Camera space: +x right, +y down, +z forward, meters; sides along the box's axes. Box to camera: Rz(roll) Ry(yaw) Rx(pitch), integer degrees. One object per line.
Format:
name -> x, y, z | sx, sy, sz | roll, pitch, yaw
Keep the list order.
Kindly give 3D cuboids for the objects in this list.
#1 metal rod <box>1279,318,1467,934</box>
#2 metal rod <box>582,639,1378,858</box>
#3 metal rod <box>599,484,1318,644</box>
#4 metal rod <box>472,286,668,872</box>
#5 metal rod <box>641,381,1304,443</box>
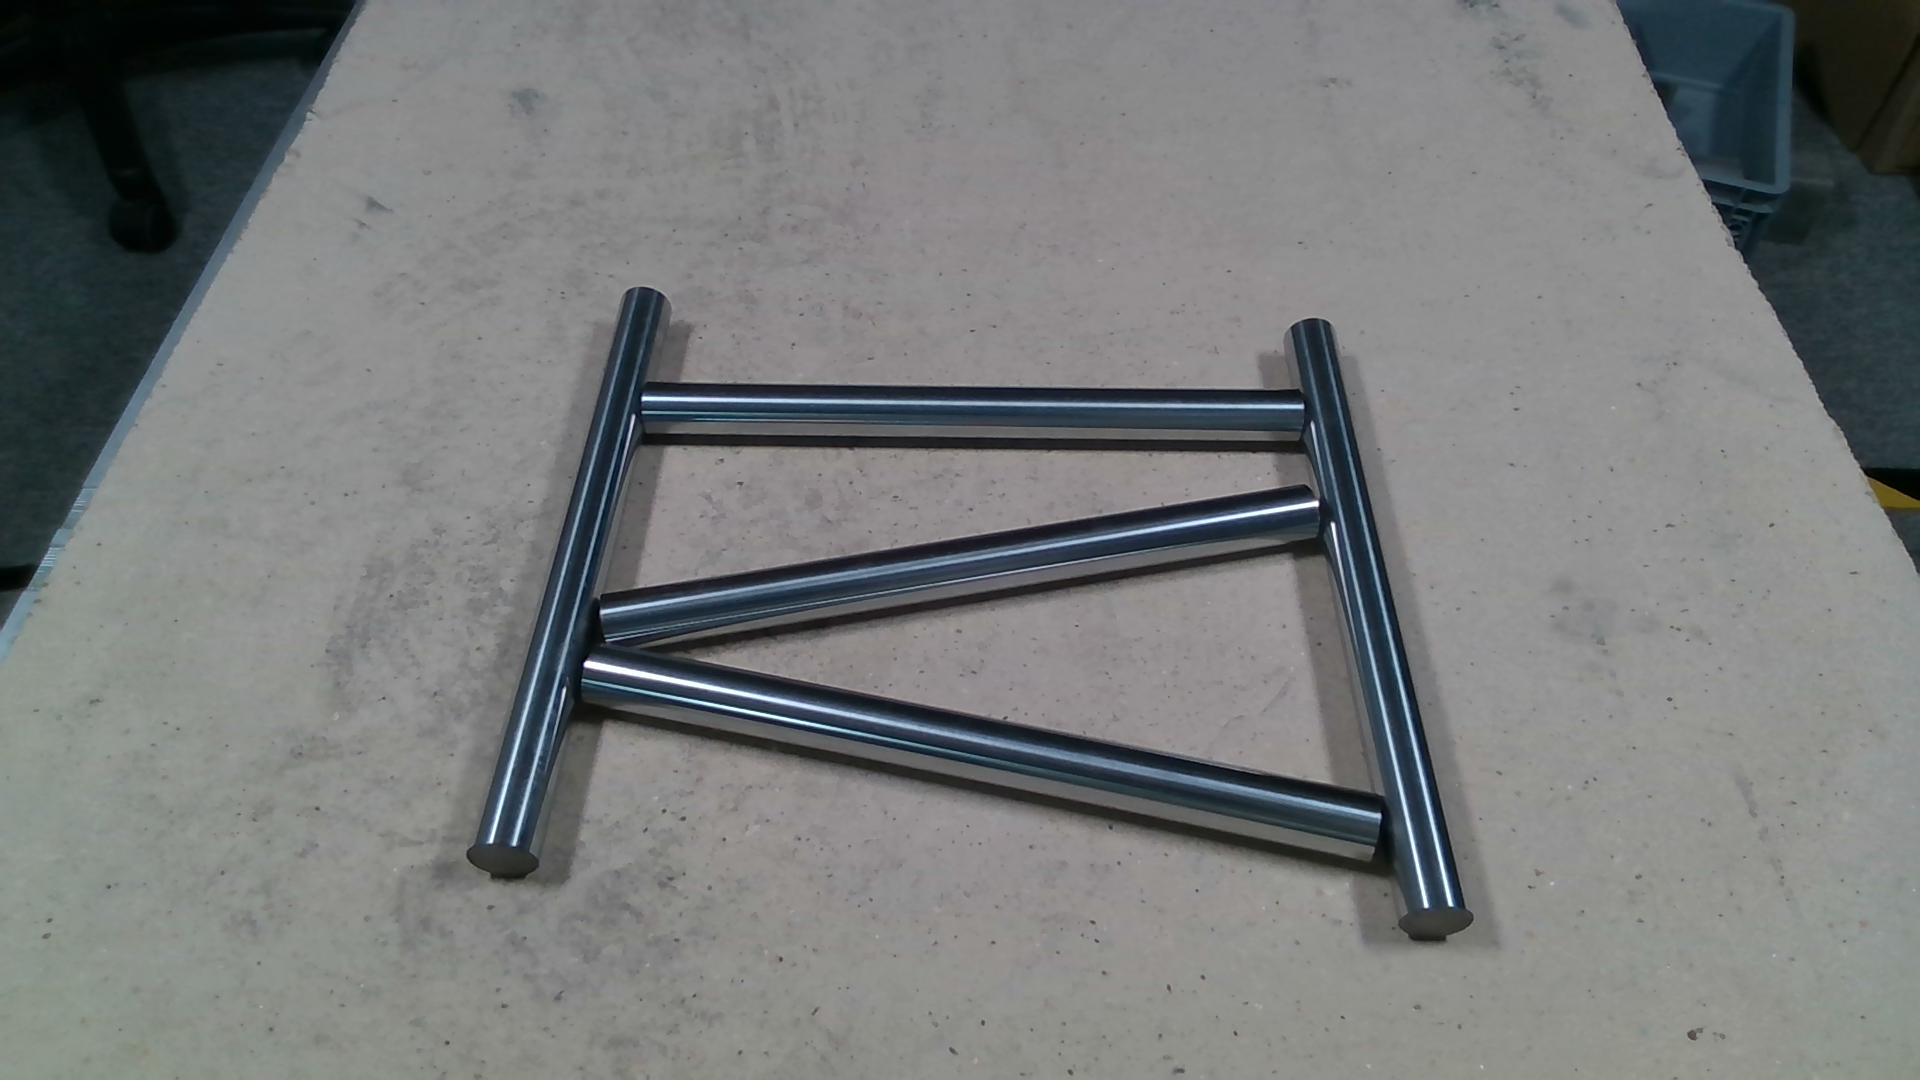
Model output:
metal rod -> 0.165, 0.017, 0.573 | 0.025, 0.025, 0.299 | 1, 50, 1
metal rod -> 0.003, 0.077, 0.522 | 0.300, 0.025, 0.025 | 10, 51, 8
metal rod -> 0.003, 0.010, 0.578 | 0.300, 0.025, 0.025 | -9, 51, -7
metal rod -> -0.159, -0.002, 0.588 | 0.025, 0.025, 0.299 | 1, 50, 1
metal rod -> 0.005, -0.059, 0.636 | 0.300, 0.025, 0.025 | 1, 50, 1
